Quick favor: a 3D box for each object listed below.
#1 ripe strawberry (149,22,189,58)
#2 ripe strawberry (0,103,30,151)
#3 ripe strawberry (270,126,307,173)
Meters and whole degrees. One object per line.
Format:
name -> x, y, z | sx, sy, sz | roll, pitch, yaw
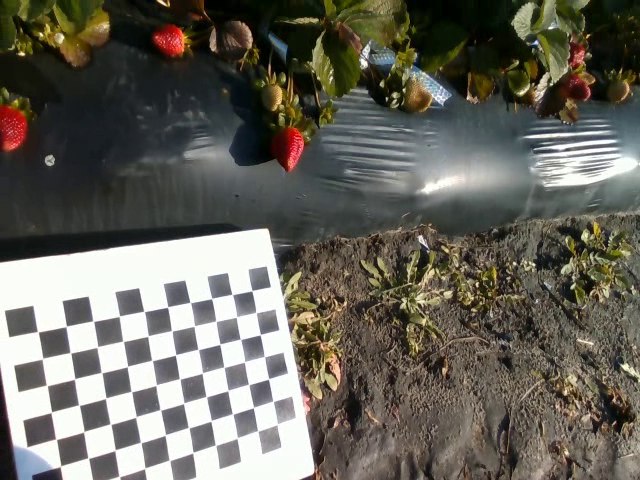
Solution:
ripe strawberry -> -0.156, -0.206, 0.690 | 0.046, 0.035, 0.035 | -7, -8, -44
ripe strawberry -> -0.273, -0.094, 0.591 | 0.045, 0.055, 0.042 | 3, -44, -38
ripe strawberry -> -0.036, -0.094, 0.711 | 0.042, 0.059, 0.042 | 19, -32, -34
